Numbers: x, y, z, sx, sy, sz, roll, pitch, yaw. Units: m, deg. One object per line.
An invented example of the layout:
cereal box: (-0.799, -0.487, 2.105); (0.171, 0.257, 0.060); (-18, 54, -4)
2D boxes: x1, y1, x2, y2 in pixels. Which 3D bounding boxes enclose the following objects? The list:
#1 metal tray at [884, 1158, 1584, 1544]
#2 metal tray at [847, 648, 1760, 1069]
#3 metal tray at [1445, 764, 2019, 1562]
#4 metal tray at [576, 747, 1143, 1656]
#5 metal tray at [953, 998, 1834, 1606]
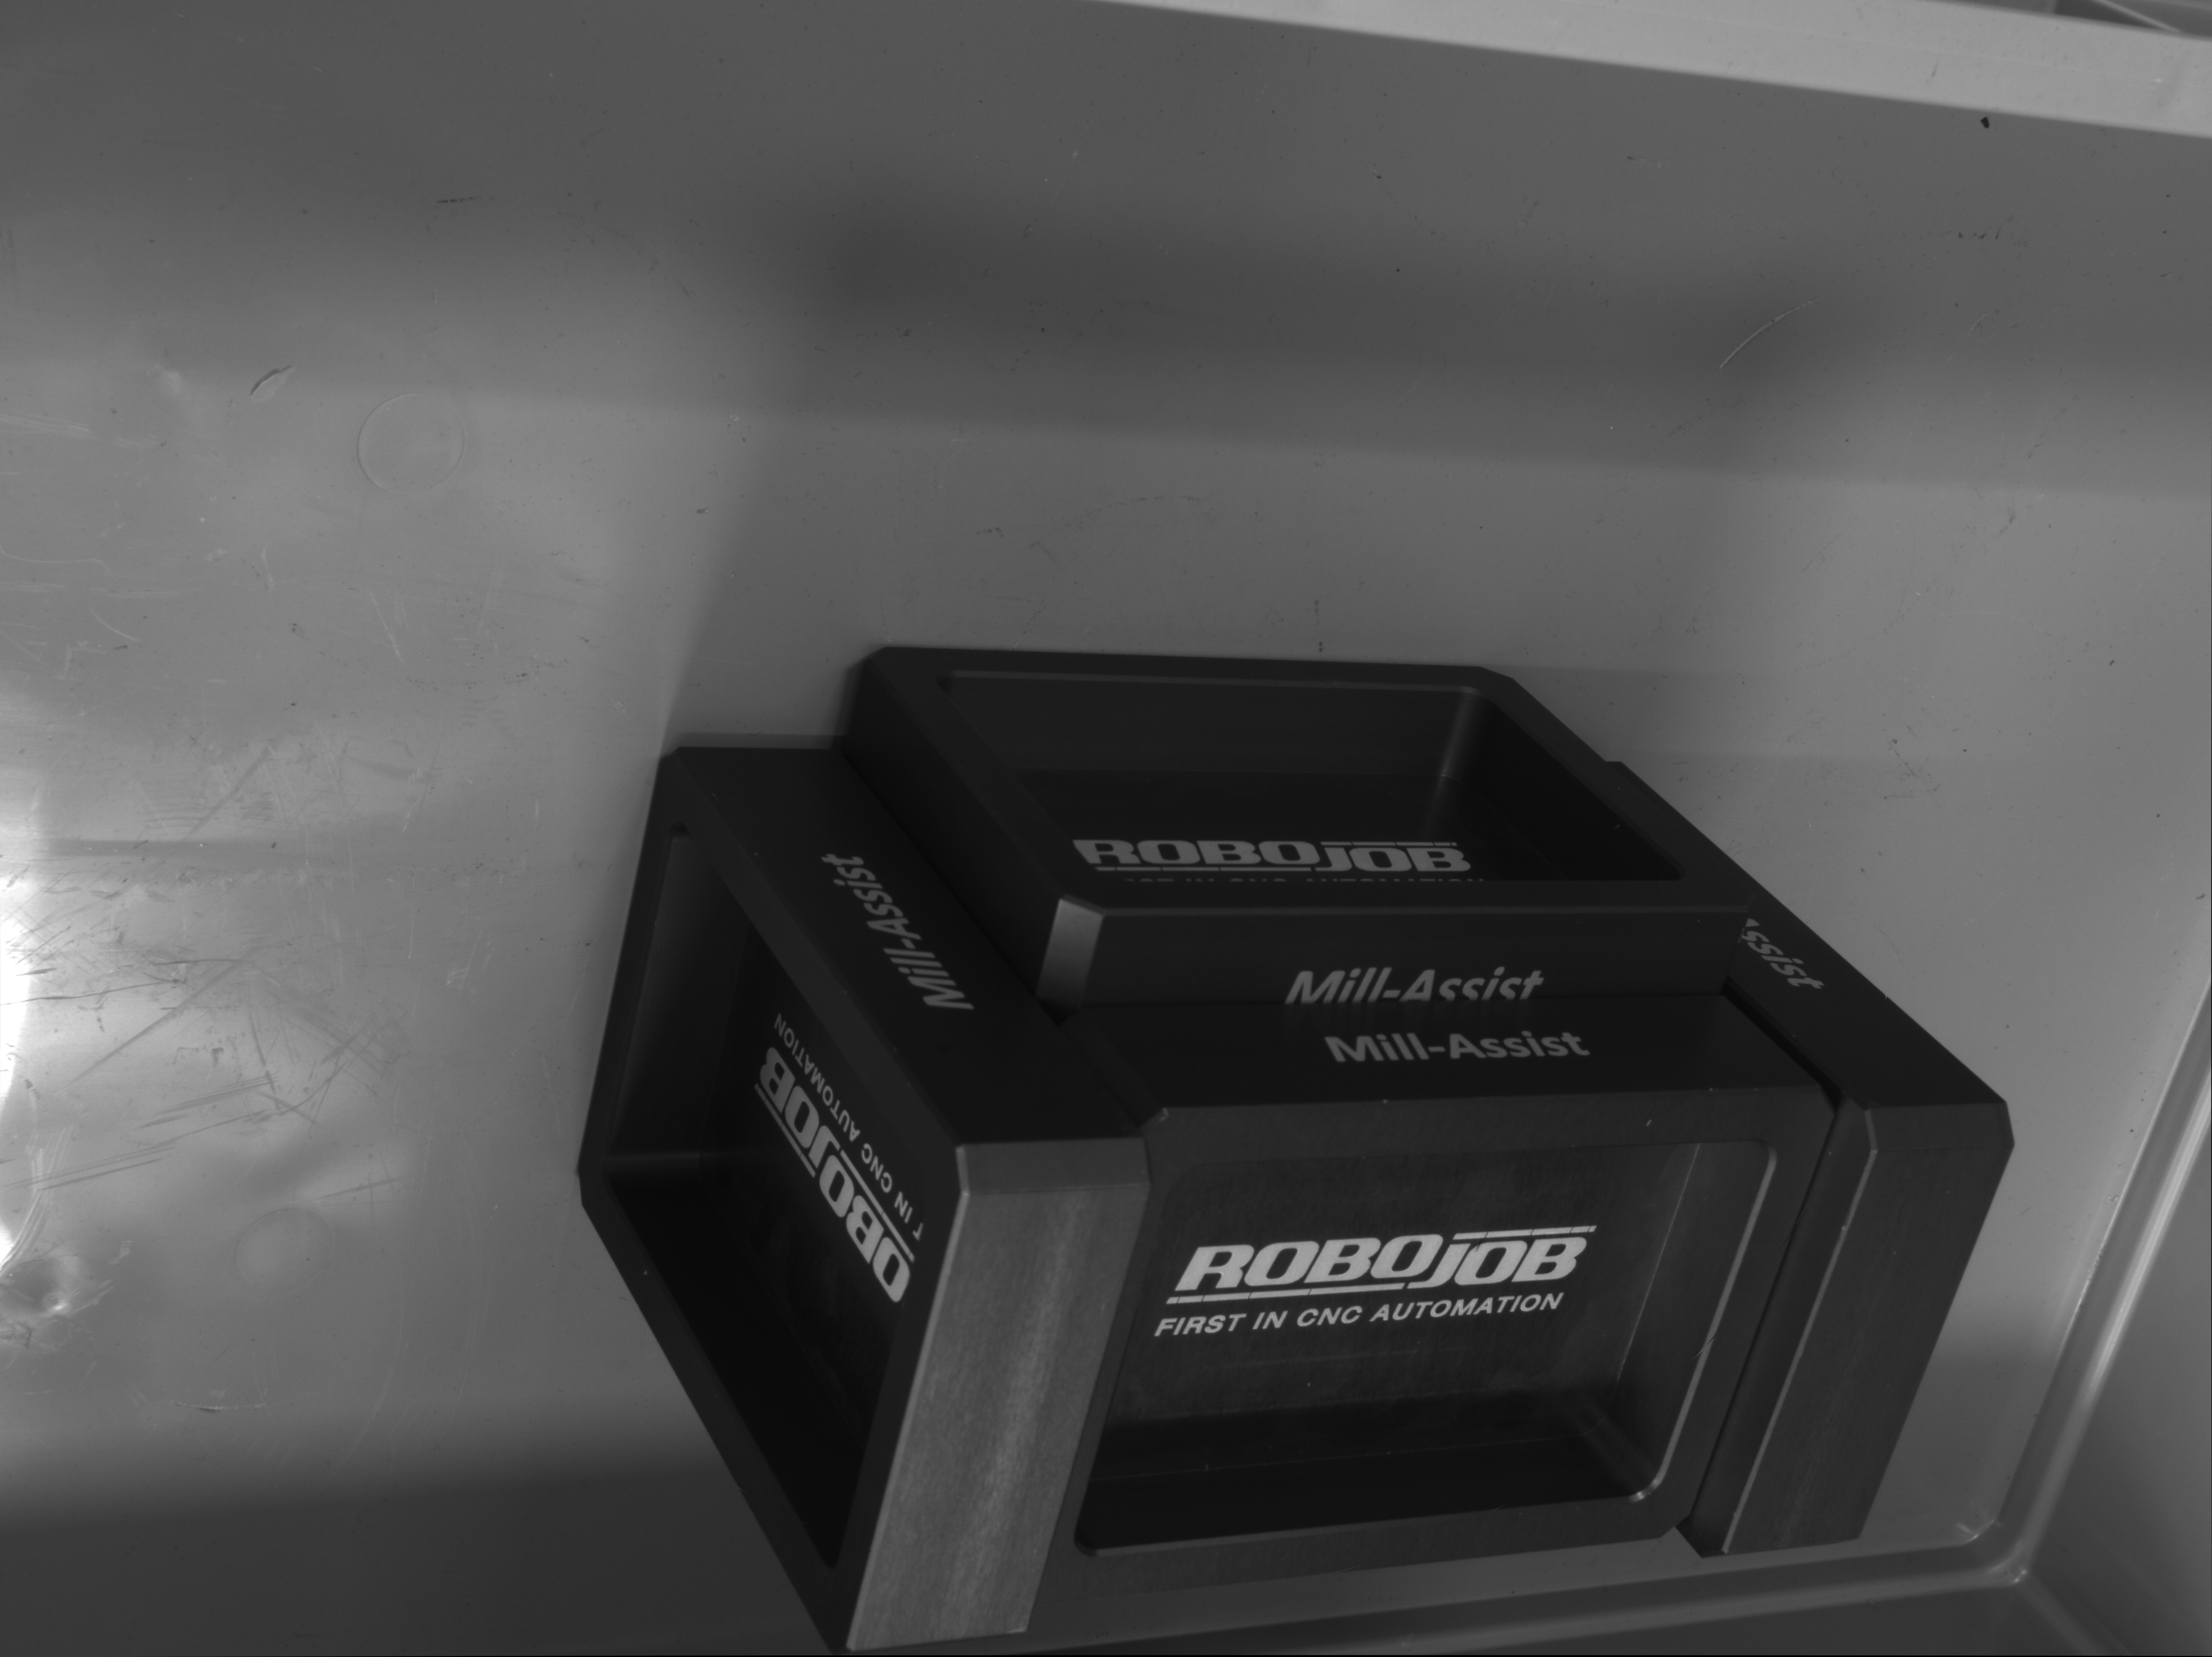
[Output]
metal tray: (0.011, 0.084, 0.649); (0.130, 0.090, 0.030); (0, 118, -28)
metal tray: (0.031, 0.005, 0.612); (0.130, 0.090, 0.030); (1, 119, -28)
metal tray: (0.100, 0.056, 0.655); (0.030, 0.130, 0.090); (1, 118, -28)
metal tray: (-0.043, 0.055, 0.578); (0.030, 0.130, 0.090); (0, 118, -28)
metal tray: (0.045, 0.074, 0.585); (0.130, 0.030, 0.090); (1, 117, -29)
